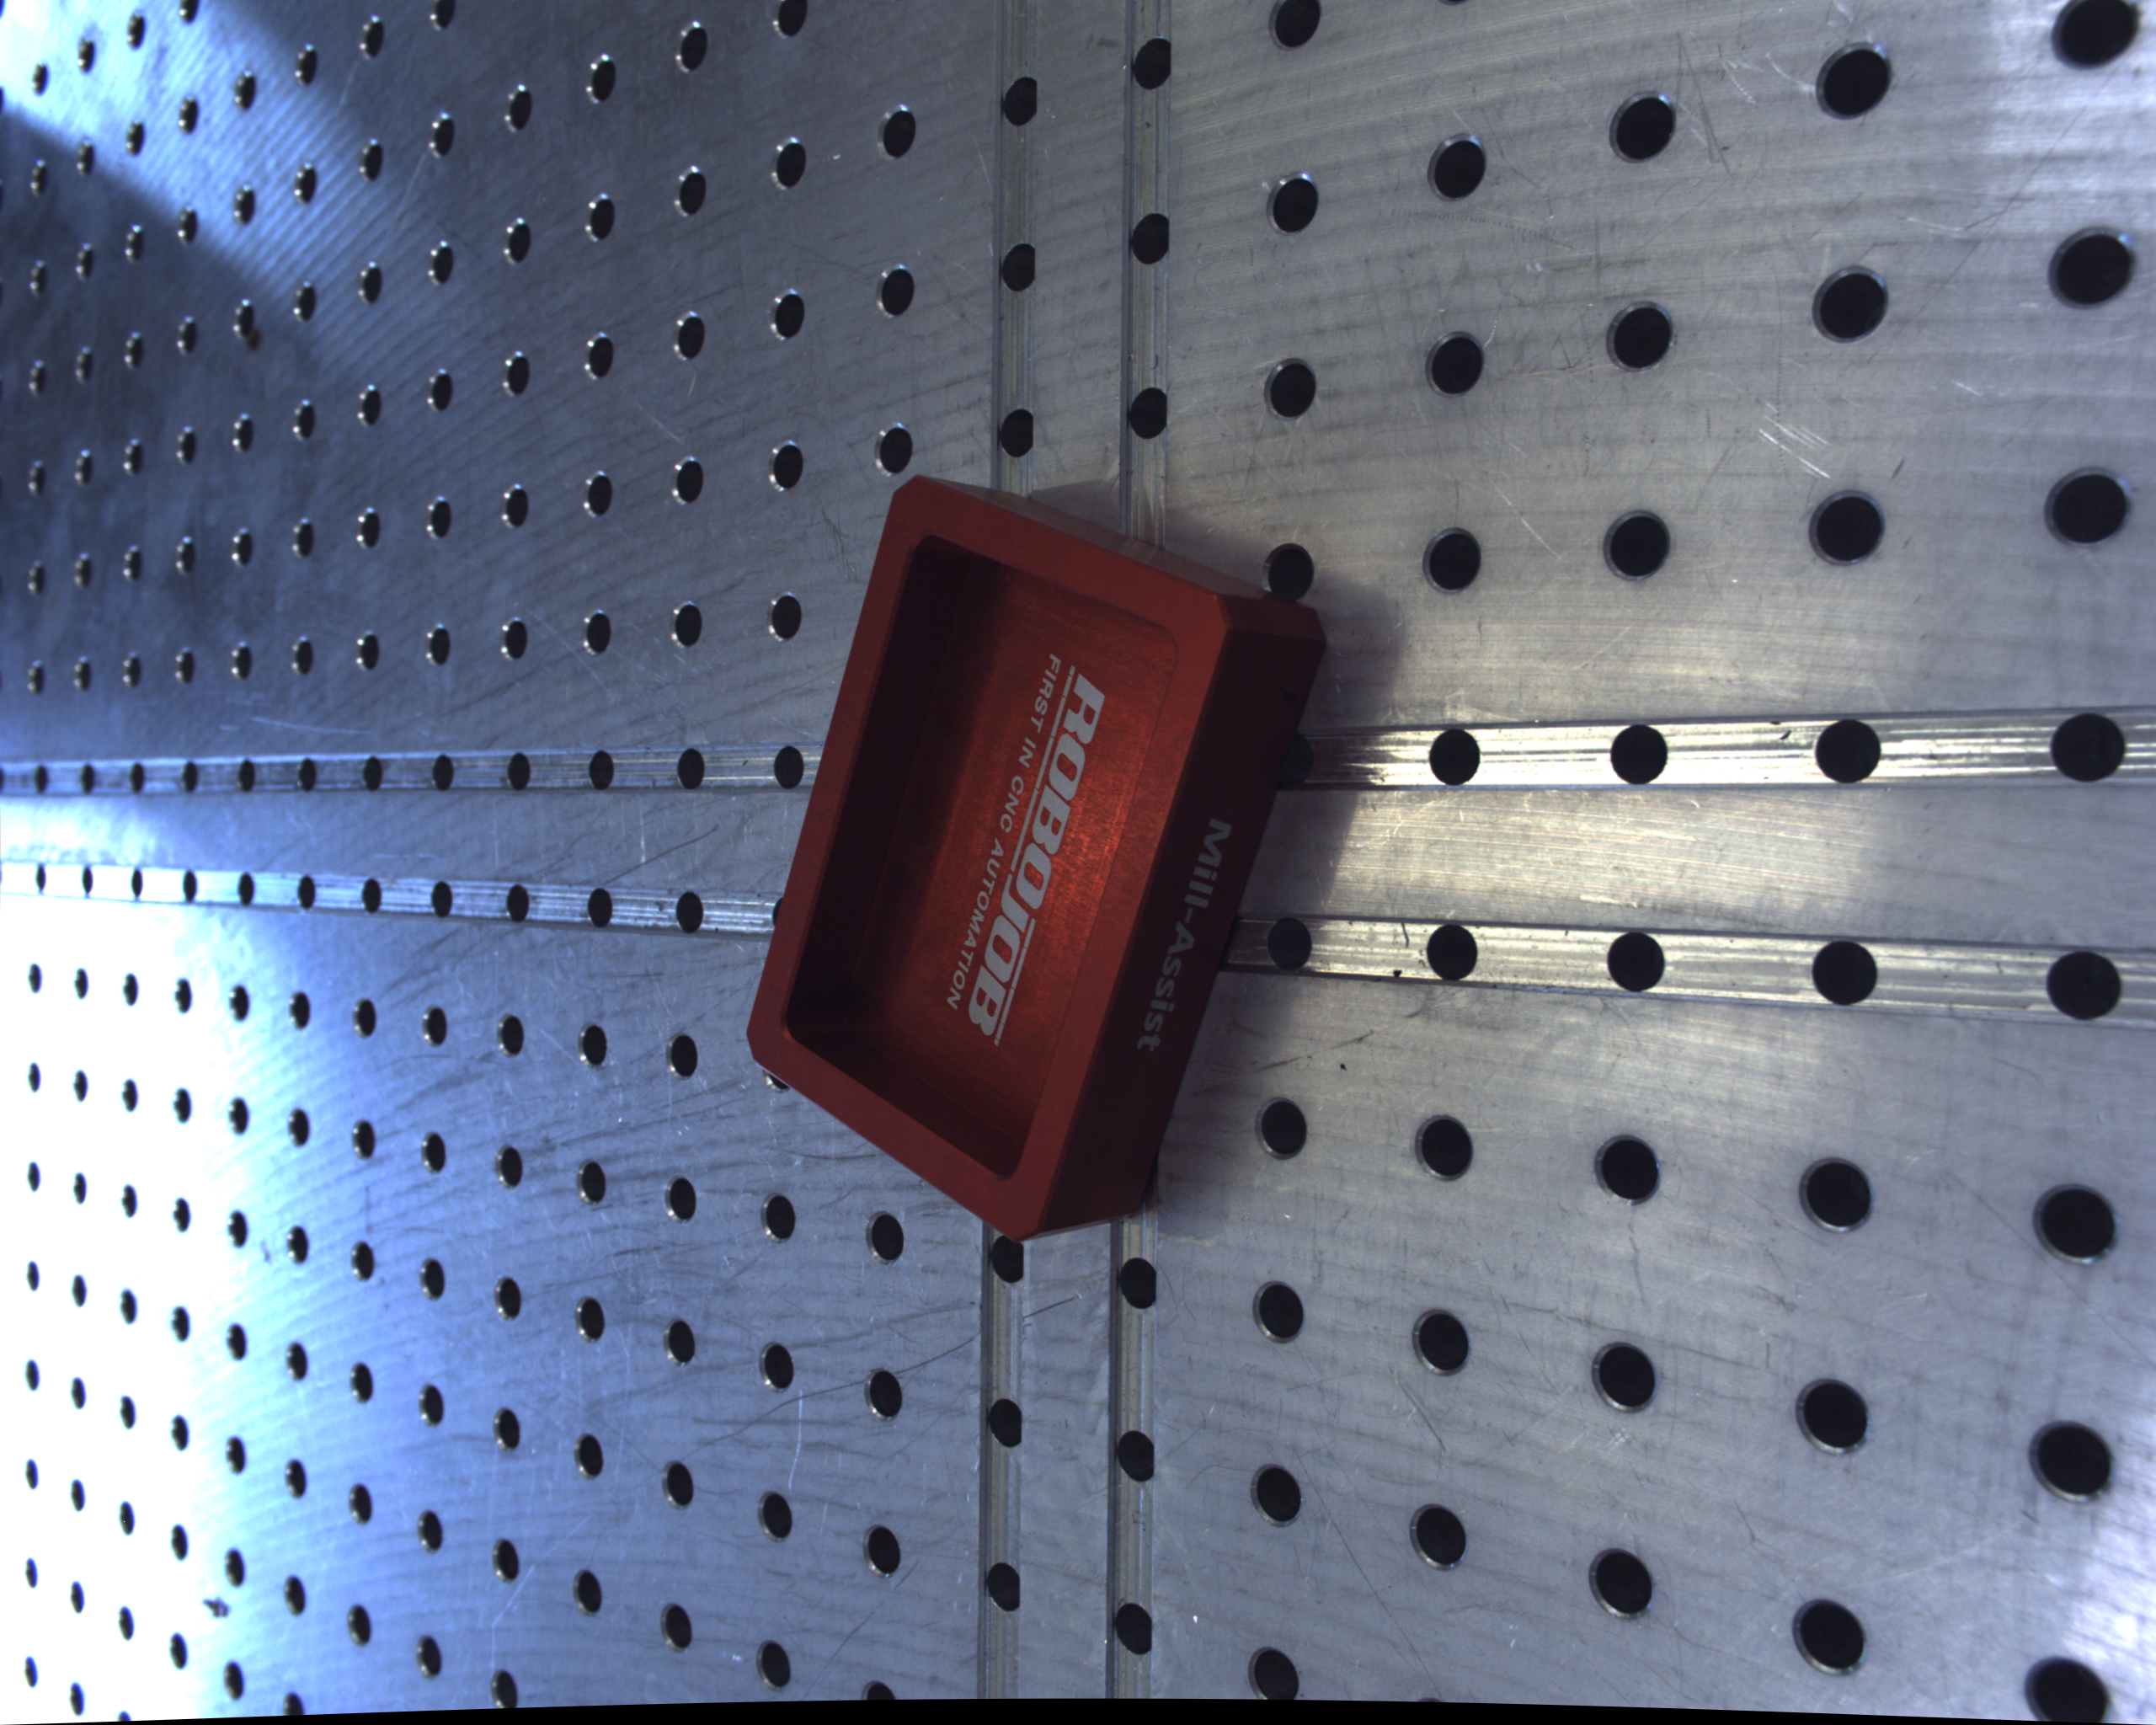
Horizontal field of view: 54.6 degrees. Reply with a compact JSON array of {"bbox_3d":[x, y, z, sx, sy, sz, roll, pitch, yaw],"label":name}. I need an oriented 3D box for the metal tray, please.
[{"bbox_3d":[-0.013,-0.002,0.417,0.090,0.030,0.129,27,107,36],"label":"metal tray"}]
